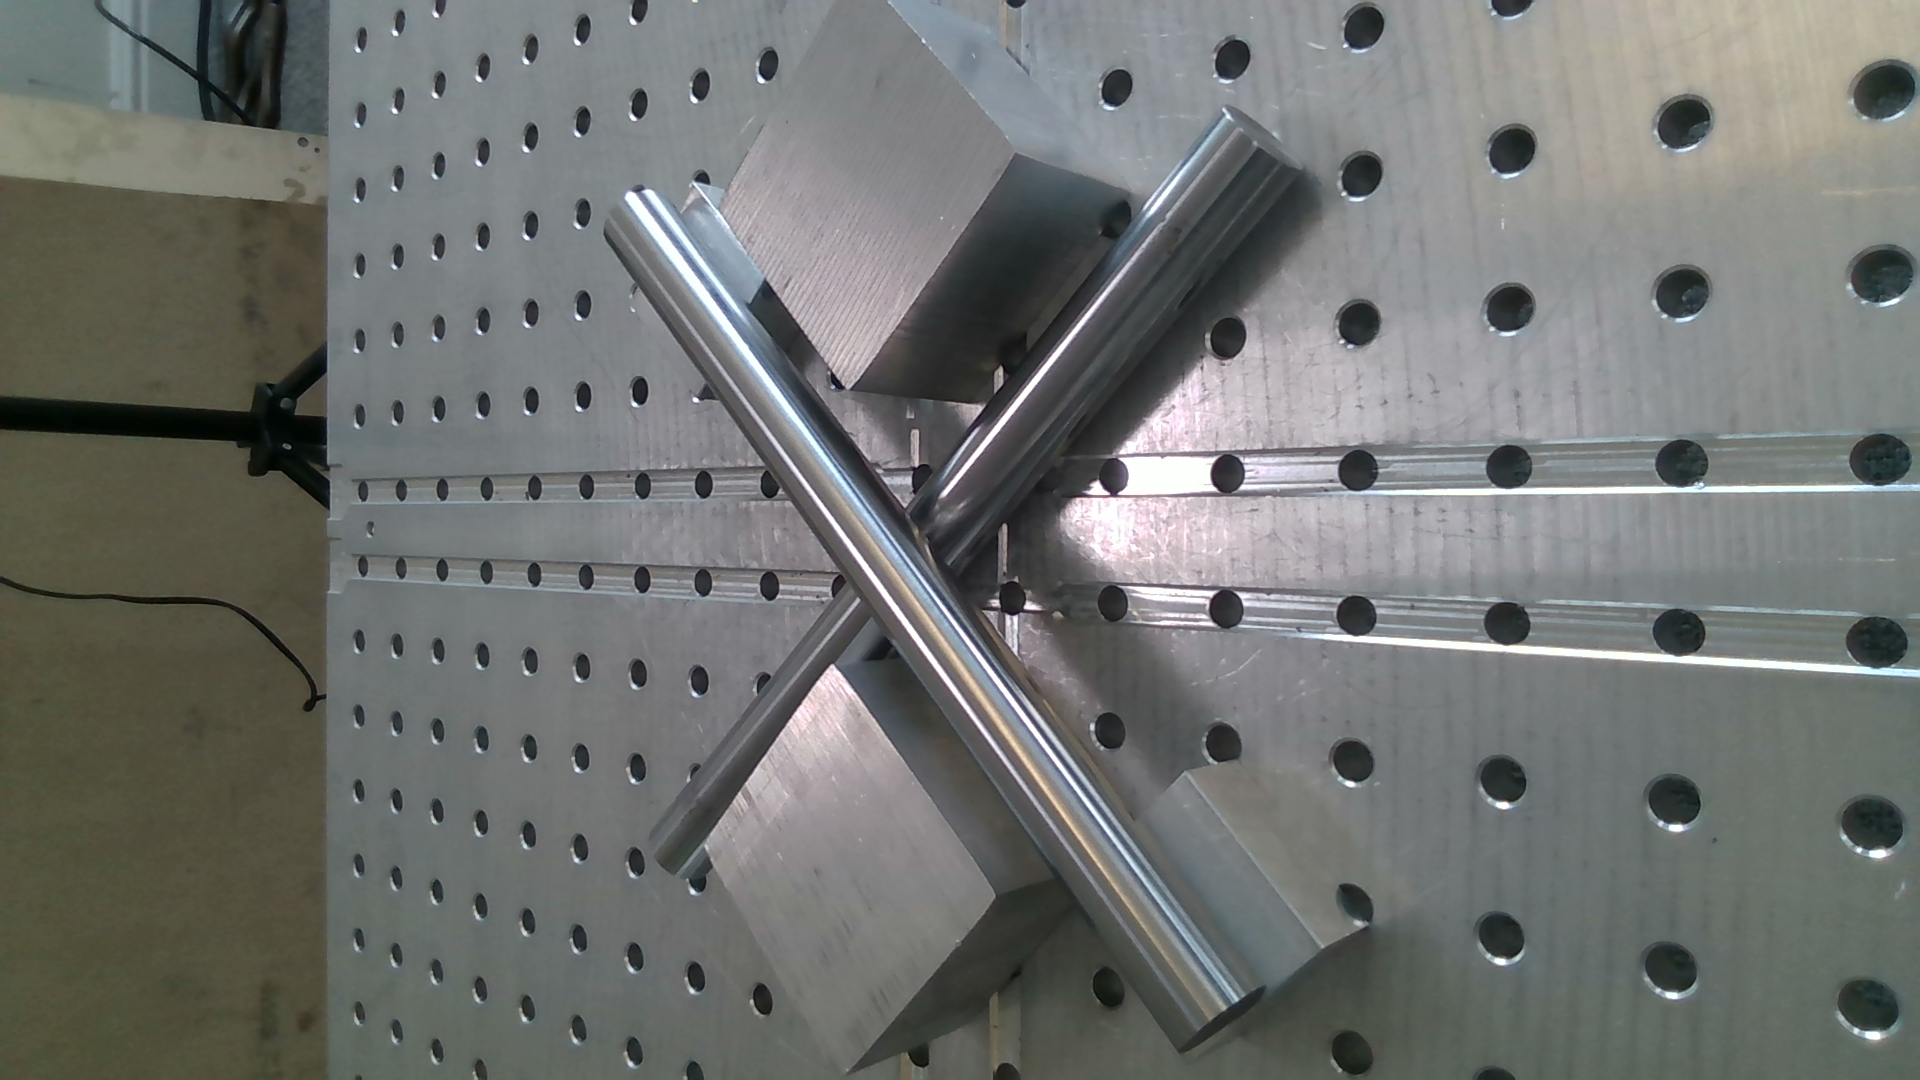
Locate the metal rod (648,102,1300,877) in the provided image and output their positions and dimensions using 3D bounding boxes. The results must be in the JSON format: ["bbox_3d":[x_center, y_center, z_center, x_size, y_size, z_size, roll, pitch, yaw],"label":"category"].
[{"bbox_3d":[-0.012,0.004,0.403,0.301,0.025,0.025,-50,60,29],"label":"metal rod"}]

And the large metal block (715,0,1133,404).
[{"bbox_3d":[-0.013,-0.097,0.388,0.080,0.050,0.080,-51,60,28],"label":"large metal block"}]

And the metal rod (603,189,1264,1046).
[{"bbox_3d":[-0.023,0.002,0.380,0.299,0.025,0.025,52,121,27],"label":"metal rod"}]

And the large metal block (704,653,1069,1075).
[{"bbox_3d":[-0.017,0.089,0.393,0.080,0.050,0.080,51,120,28],"label":"large metal block"}]

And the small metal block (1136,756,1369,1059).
[{"bbox_3d":[0.063,0.091,0.343,0.050,0.025,0.050,-52,60,28],"label":"small metal block"}]

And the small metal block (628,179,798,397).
[{"bbox_3d":[-0.079,-0.083,0.460,0.050,0.025,0.050,52,121,27],"label":"small metal block"}]
